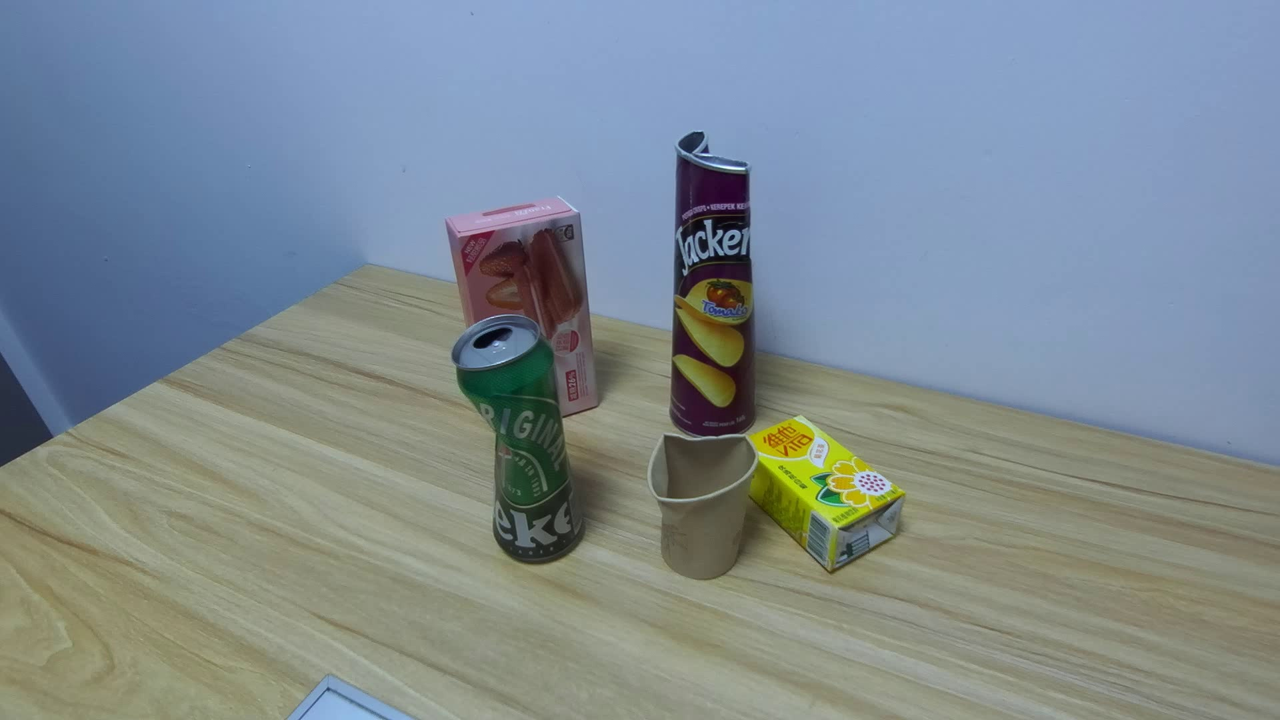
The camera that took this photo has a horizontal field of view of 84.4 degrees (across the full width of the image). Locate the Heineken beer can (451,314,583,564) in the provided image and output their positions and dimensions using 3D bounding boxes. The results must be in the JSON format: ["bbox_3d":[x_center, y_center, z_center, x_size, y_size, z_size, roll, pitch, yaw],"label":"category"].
[{"bbox_3d":[-0.080,0.057,0.472,0.069,0.168,0.068,10,36,25],"label":"Heineken beer can"}]

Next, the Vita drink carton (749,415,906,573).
[{"bbox_3d":[0.127,0.093,0.514,0.067,0.043,0.108,-17,35,-25],"label":"Vita drink carton"}]

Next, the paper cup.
[{"bbox_3d":[0.042,0.100,0.470,0.071,0.084,0.066,-2,32,2],"label":"paper cup"}]

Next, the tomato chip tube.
[{"bbox_3d":[0.061,-0.051,0.558,0.076,0.235,0.078,15,36,25],"label":"tomato chip tube"}]

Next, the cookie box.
[{"bbox_3d":[-0.093,-0.033,0.590,0.096,0.185,0.048,-17,34,-19],"label":"cookie box"}]
